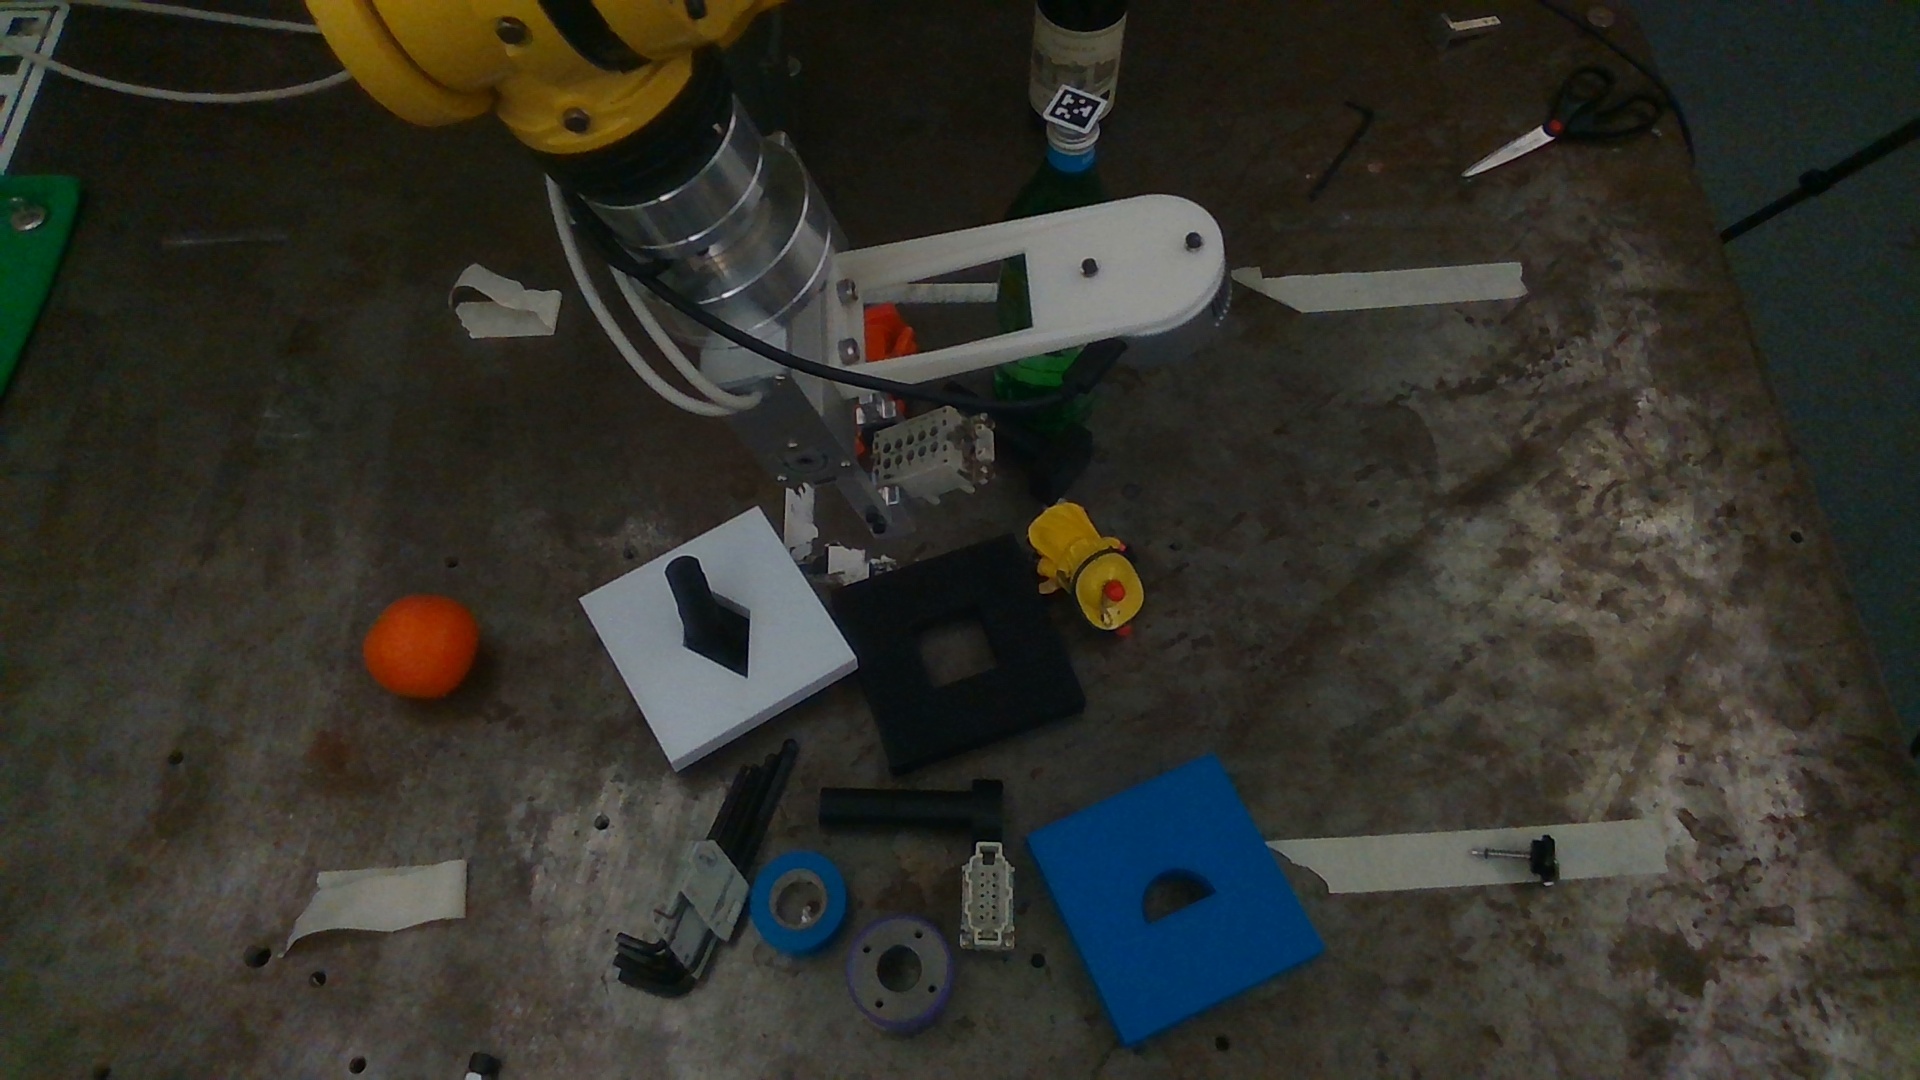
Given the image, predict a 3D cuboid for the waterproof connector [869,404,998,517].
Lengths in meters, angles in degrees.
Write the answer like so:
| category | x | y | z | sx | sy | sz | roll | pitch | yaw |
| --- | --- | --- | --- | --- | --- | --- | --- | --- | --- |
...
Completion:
| category | x | y | z | sx | sy | sz | roll | pitch | yaw |
| --- | --- | --- | --- | --- | --- | --- | --- | --- | --- |
| waterproof connector | -0.015 | -0.039 | 0.696 | 0.069 | 0.038 | 0.037 | -21 | 58 | 29 |
